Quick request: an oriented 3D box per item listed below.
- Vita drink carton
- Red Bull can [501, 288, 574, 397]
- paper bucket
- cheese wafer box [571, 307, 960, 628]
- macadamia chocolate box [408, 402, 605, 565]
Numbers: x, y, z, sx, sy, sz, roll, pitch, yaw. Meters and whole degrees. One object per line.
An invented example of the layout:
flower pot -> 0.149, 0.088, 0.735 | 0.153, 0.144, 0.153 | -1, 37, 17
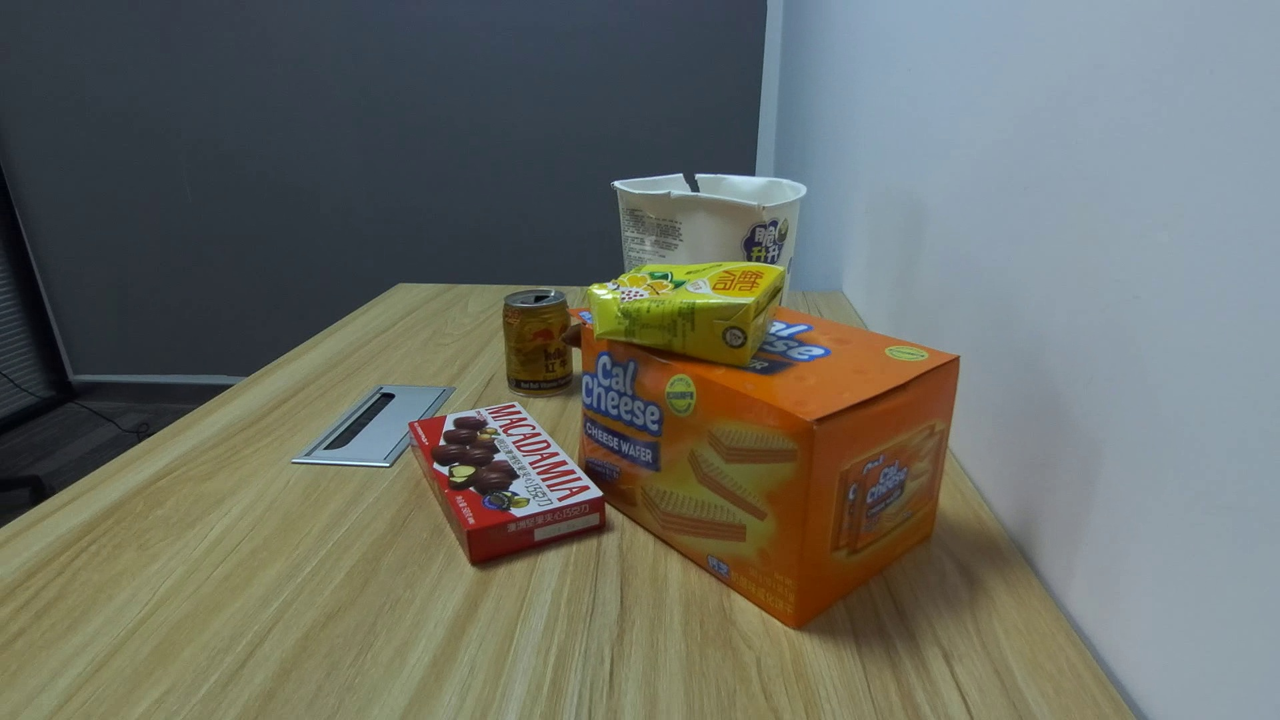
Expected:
Vita drink carton -> 0.029, -0.031, 0.442 | 0.108, 0.042, 0.087 | 7, 30, 28
Red Bull can -> -0.100, -0.017, 0.694 | 0.068, 0.093, 0.068 | 0, 16, 0
paper bucket -> 0.066, -0.077, 0.692 | 0.202, 0.197, 0.146 | 16, 26, 35
cheese wafer box -> 0.069, 0.040, 0.477 | 0.150, 0.137, 0.226 | -17, 27, -36
macadamia chocolate box -> -0.105, 0.082, 0.526 | 0.096, 0.027, 0.177 | -10, 23, -26
